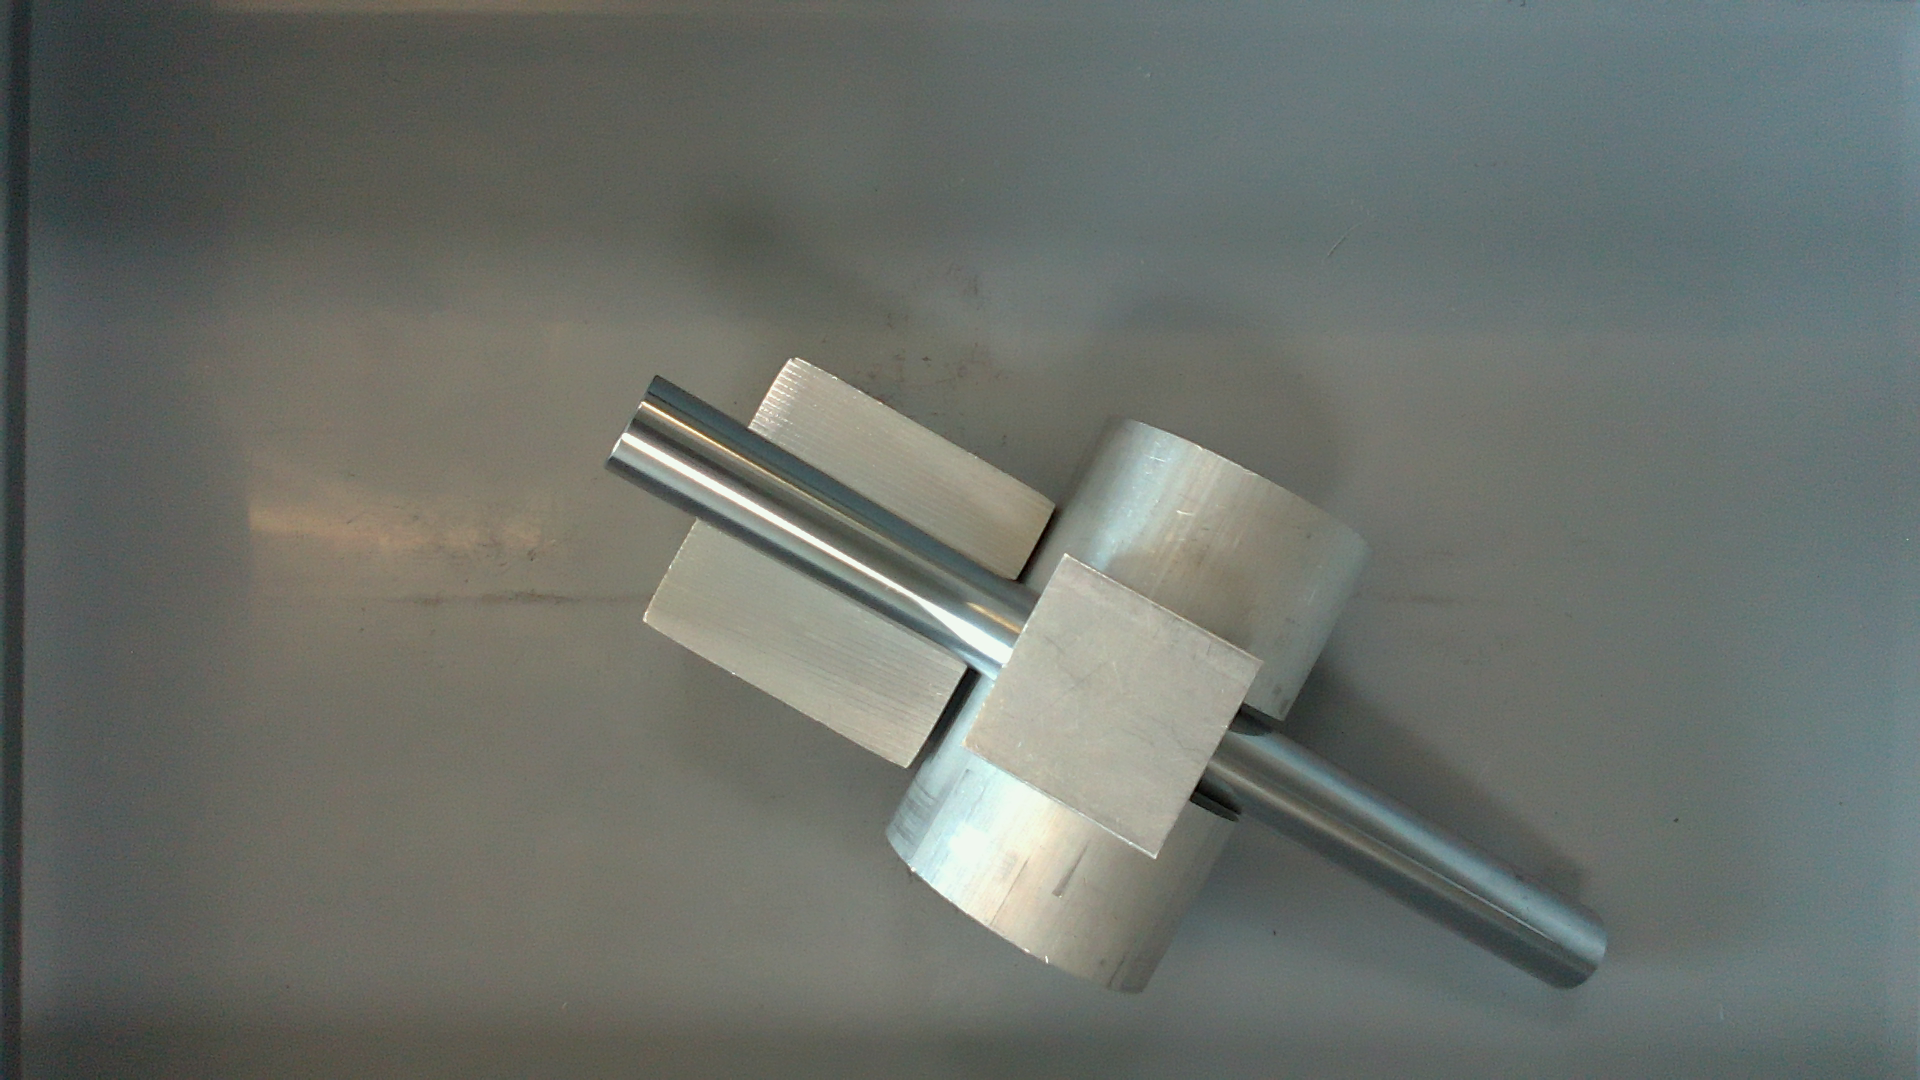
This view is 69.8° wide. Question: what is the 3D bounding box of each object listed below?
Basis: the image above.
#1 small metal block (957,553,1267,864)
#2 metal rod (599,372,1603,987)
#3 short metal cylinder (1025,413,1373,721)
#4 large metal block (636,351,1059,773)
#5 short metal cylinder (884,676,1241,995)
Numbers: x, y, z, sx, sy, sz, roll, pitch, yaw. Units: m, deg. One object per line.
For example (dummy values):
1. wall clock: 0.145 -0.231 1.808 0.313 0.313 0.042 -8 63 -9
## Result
1. small metal block: 0.035 0.037 0.316 0.050 0.025 0.050 29 90 8
2. metal rod: 0.049 0.044 0.355 0.301 0.025 0.025 30 90 -16
3. short metal cylinder: 0.062 0.007 0.368 0.080 0.080 0.050 28 90 0
4. large metal block: -0.029 0.006 0.380 0.080 0.050 0.080 29 90 0
5. short metal cylinder: 0.027 0.076 0.367 0.080 0.080 0.050 30 90 0
